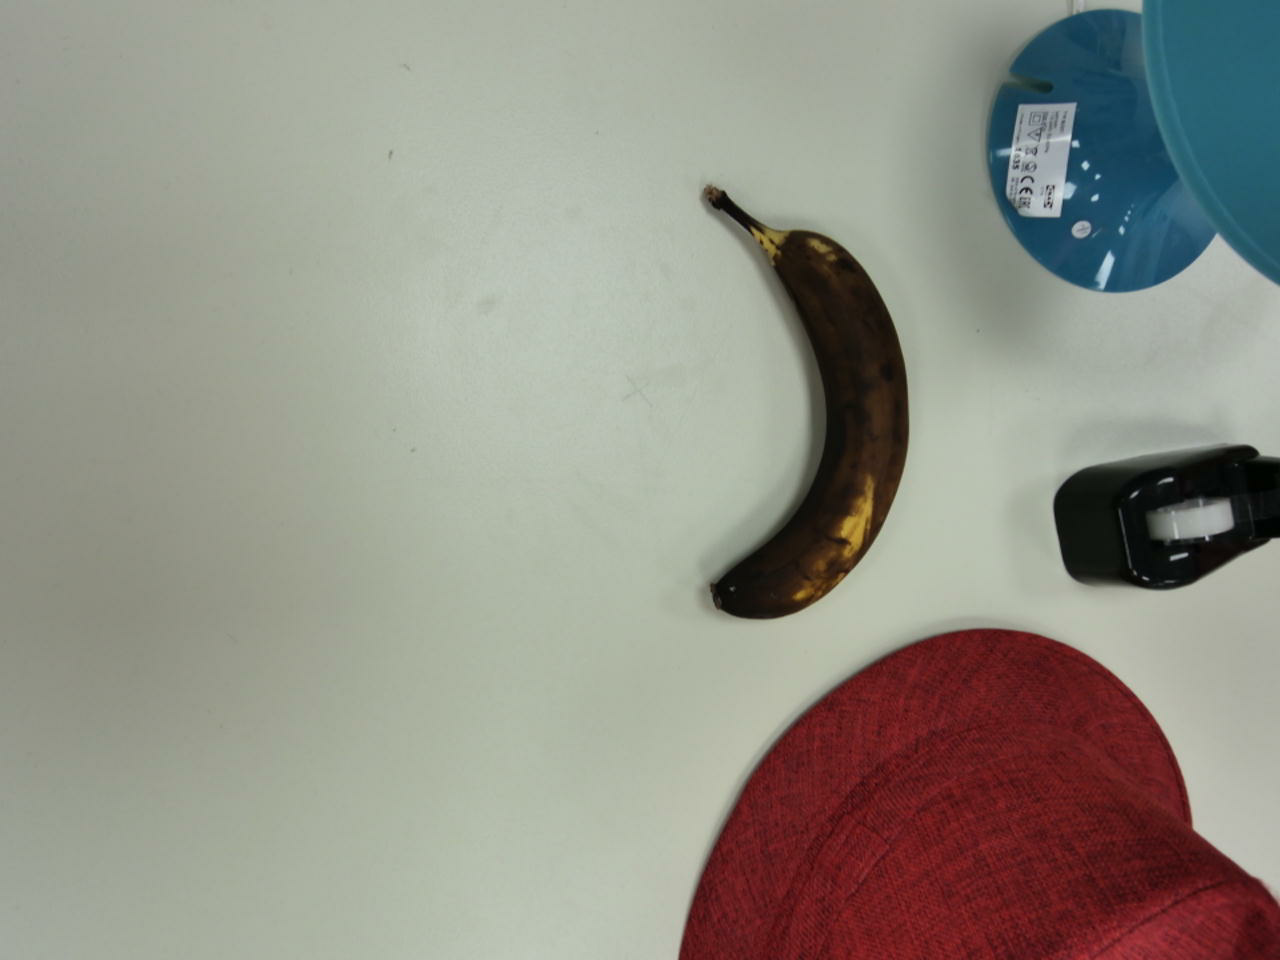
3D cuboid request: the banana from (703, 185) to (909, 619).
[{"bbox_3d":[0.074,-0.034,0.434,0.091,0.034,0.188,0,91,-11],"label":"banana"}]
